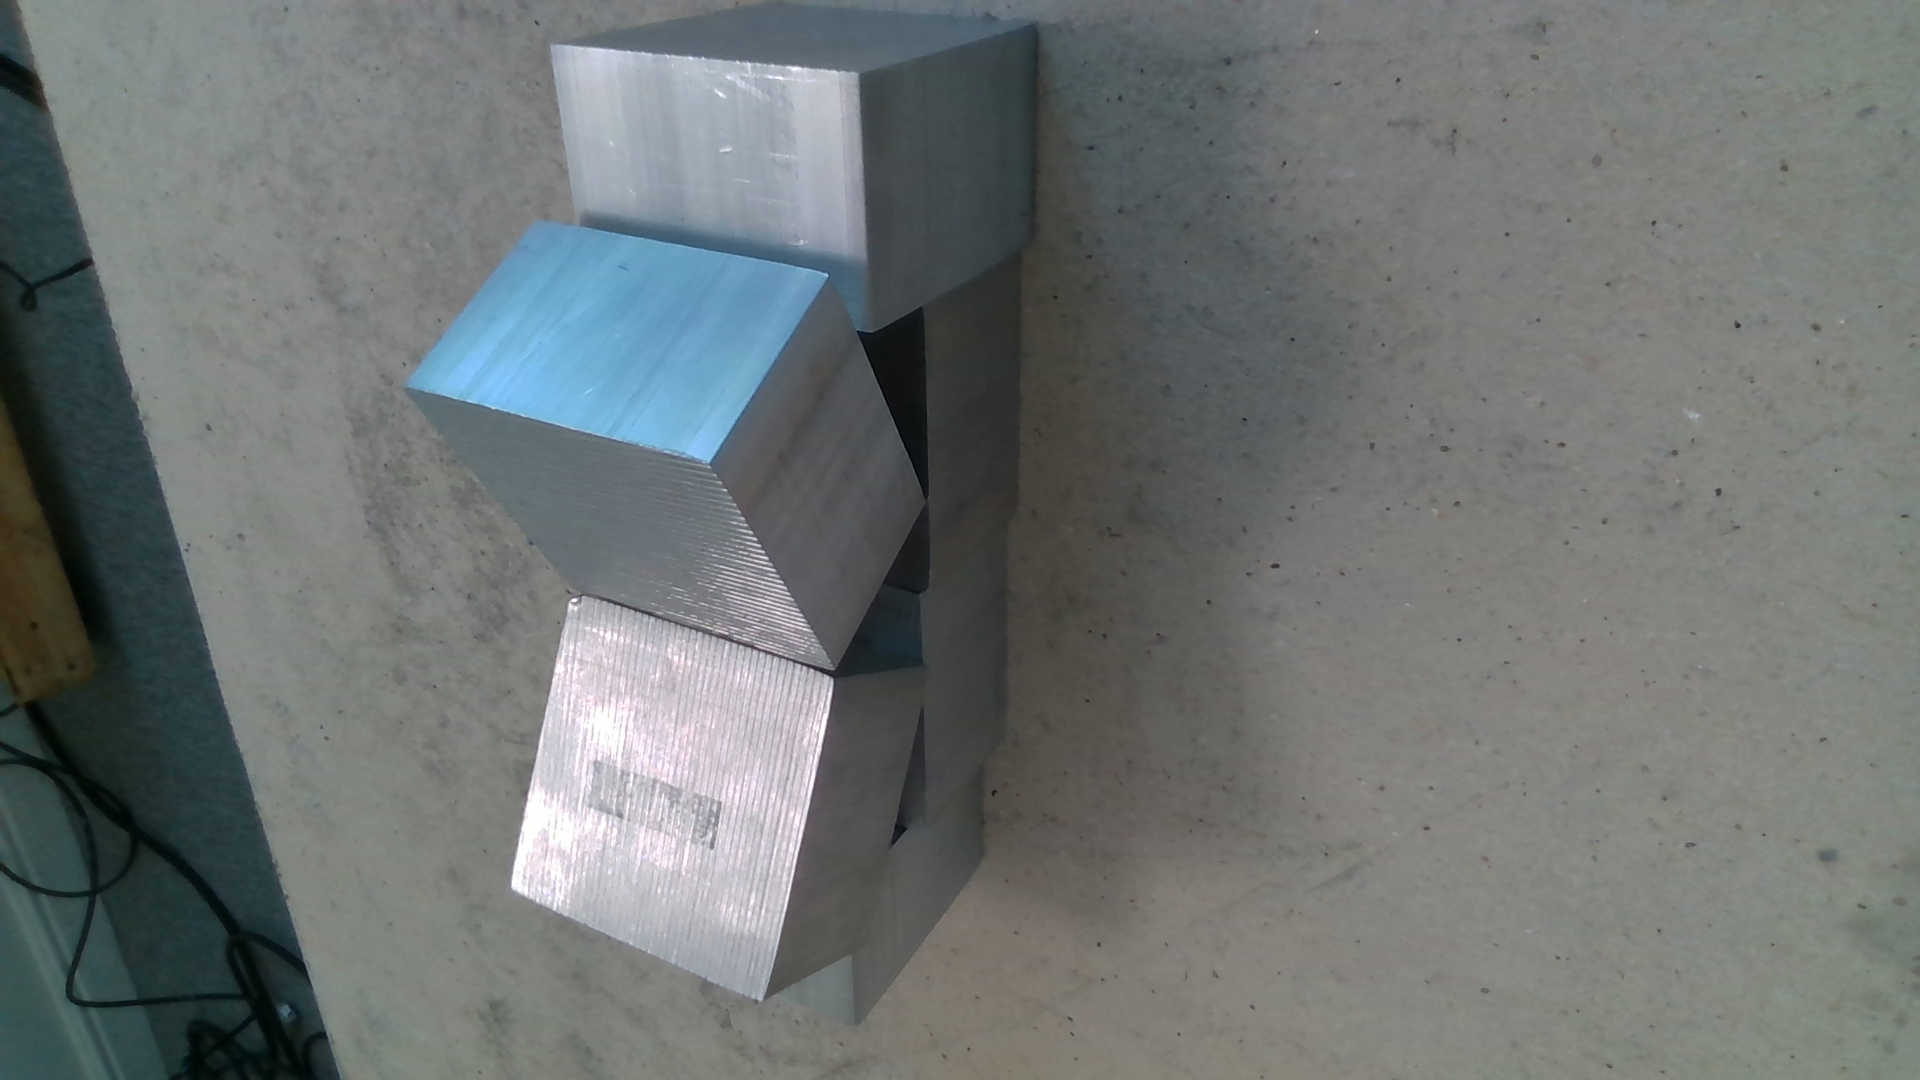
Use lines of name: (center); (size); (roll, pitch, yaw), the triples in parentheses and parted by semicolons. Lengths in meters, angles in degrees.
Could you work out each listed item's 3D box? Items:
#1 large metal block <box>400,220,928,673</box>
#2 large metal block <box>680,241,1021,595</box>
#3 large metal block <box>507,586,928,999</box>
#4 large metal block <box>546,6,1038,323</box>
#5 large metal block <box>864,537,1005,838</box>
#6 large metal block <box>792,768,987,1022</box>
large metal block: (-0.063, -0.021, 0.315); (0.080, 0.050, 0.080); (14, 151, 24)
large metal block: (-0.031, -0.040, 0.369); (0.080, 0.050, 0.080); (14, 122, 25)
large metal block: (-0.063, 0.061, 0.360); (0.080, 0.050, 0.080); (15, 96, 24)
large metal block: (-0.035, -0.092, 0.324); (0.080, 0.080, 0.050); (13, 121, 24)
large metal block: (-0.034, 0.030, 0.409); (0.080, 0.050, 0.080); (14, 122, 25)
large metal block: (-0.045, 0.092, 0.434); (0.080, 0.080, 0.050); (14, 122, 25)
